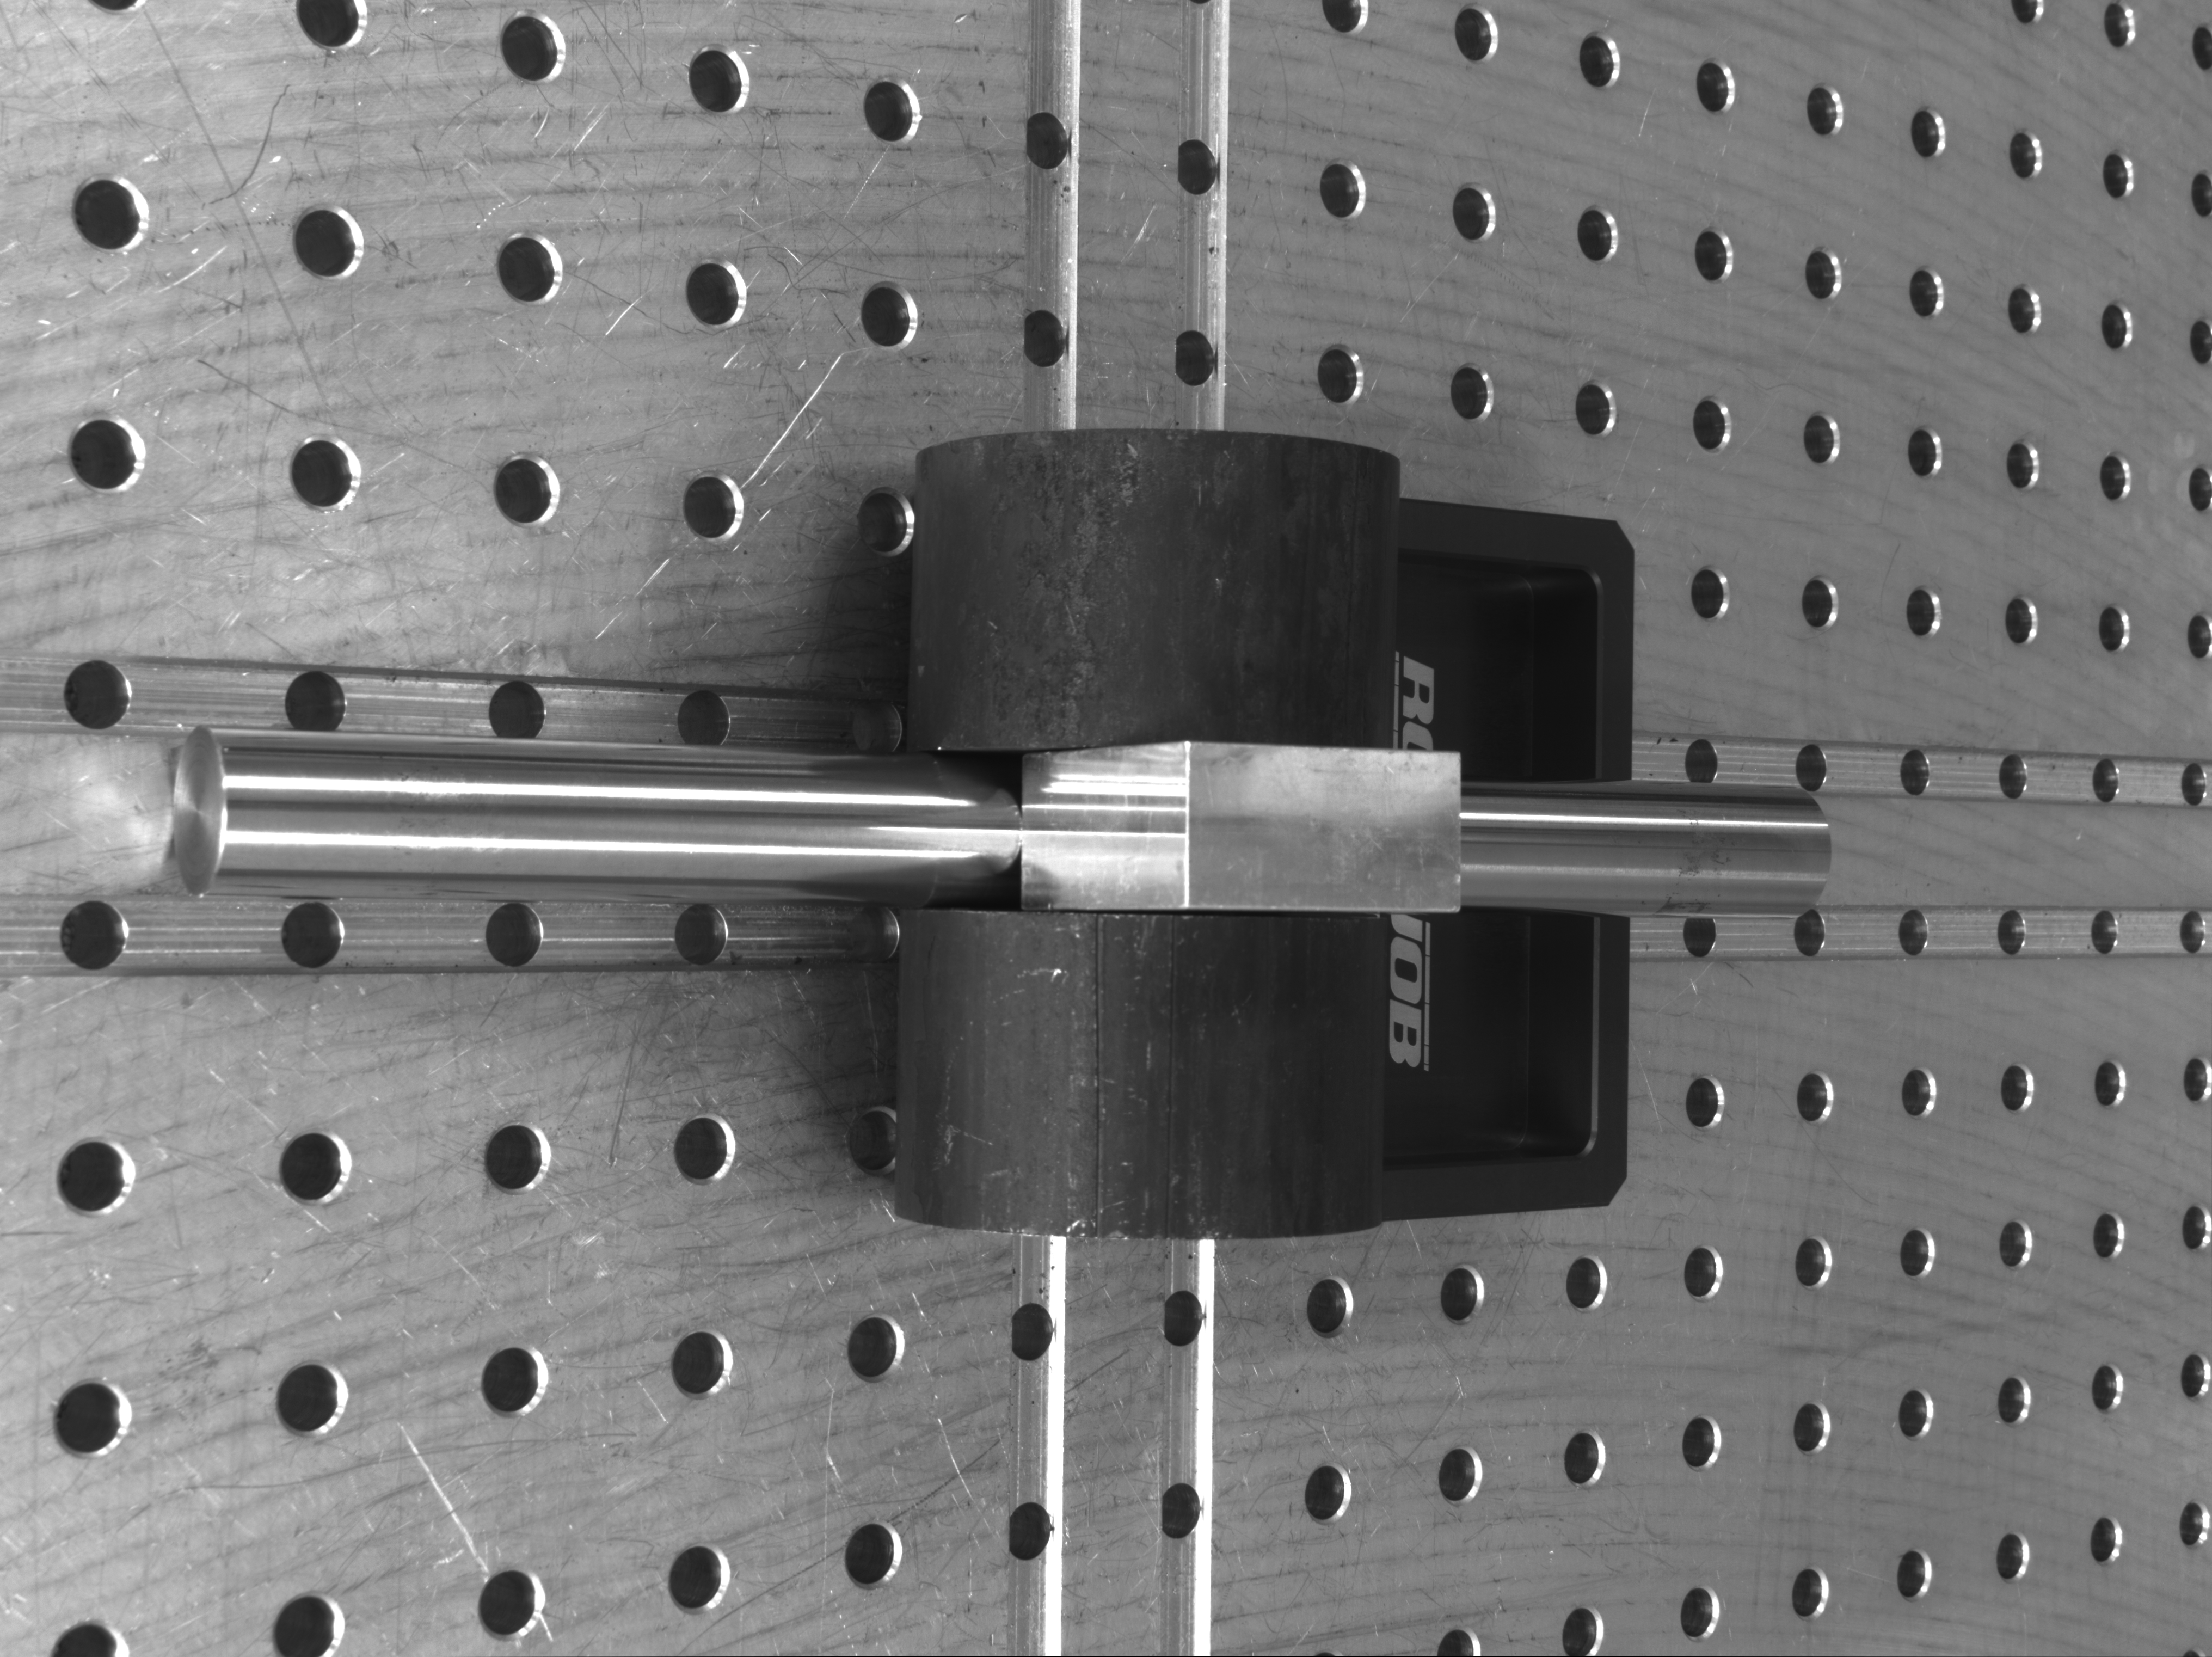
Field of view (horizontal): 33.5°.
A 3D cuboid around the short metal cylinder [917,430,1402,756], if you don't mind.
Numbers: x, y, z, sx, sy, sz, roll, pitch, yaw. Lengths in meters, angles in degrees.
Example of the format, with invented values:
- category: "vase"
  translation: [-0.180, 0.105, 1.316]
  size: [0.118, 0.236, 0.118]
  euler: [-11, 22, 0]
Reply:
- category: "short metal cylinder"
  translation: [0.009, -0.036, 0.609]
  size: [0.080, 0.080, 0.050]
  euler: [1, 89, -40]

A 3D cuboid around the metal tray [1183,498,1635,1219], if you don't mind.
- category: "metal tray"
  translation: [0.056, 0.006, 0.683]
  size: [0.090, 0.030, 0.130]
  euler: [2, 89, -40]

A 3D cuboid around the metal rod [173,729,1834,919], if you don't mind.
- category: "metal rod"
  translation: [-0.002, 0.001, 0.608]
  size: [0.301, 0.025, 0.025]
  euler: [1, 89, -31]

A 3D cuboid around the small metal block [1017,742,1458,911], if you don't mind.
- category: "small metal block"
  translation: [0.020, 0.000, 0.578]
  size: [0.050, 0.050, 0.025]
  euler: [1, 89, -31]

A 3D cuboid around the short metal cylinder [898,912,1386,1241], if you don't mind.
- category: "short metal cylinder"
  translation: [0.006, 0.039, 0.608]
  size: [0.080, 0.080, 0.050]
  euler: [2, 89, -40]
